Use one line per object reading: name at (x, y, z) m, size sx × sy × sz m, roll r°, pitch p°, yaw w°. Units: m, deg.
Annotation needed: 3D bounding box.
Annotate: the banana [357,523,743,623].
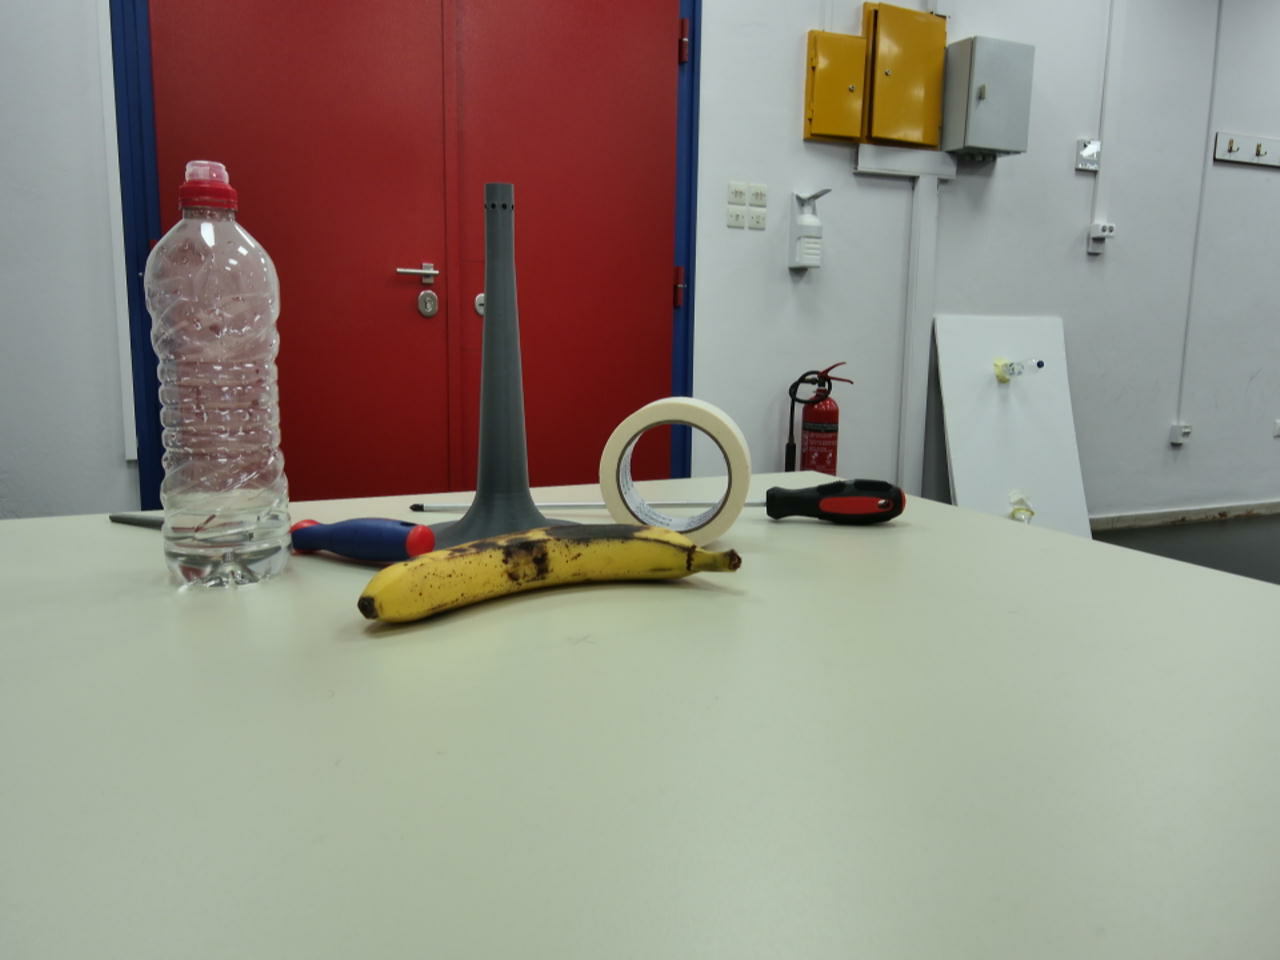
banana at (-0.055, 0.051, 0.581) m, size 0.222 × 0.037 × 0.084 m, roll -3°, pitch 8°, yaw -24°
